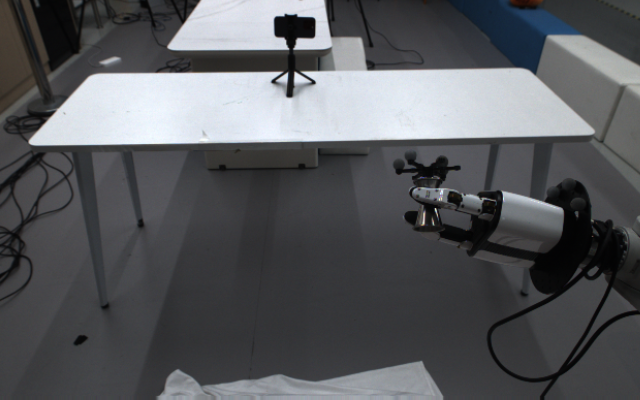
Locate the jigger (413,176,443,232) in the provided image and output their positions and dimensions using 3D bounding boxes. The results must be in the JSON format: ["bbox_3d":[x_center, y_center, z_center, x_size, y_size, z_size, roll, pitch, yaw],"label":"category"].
[{"bbox_3d":[0.147,0.005,0.663,0.043,0.043,0.071,3,76,1],"label":"jigger"}]
